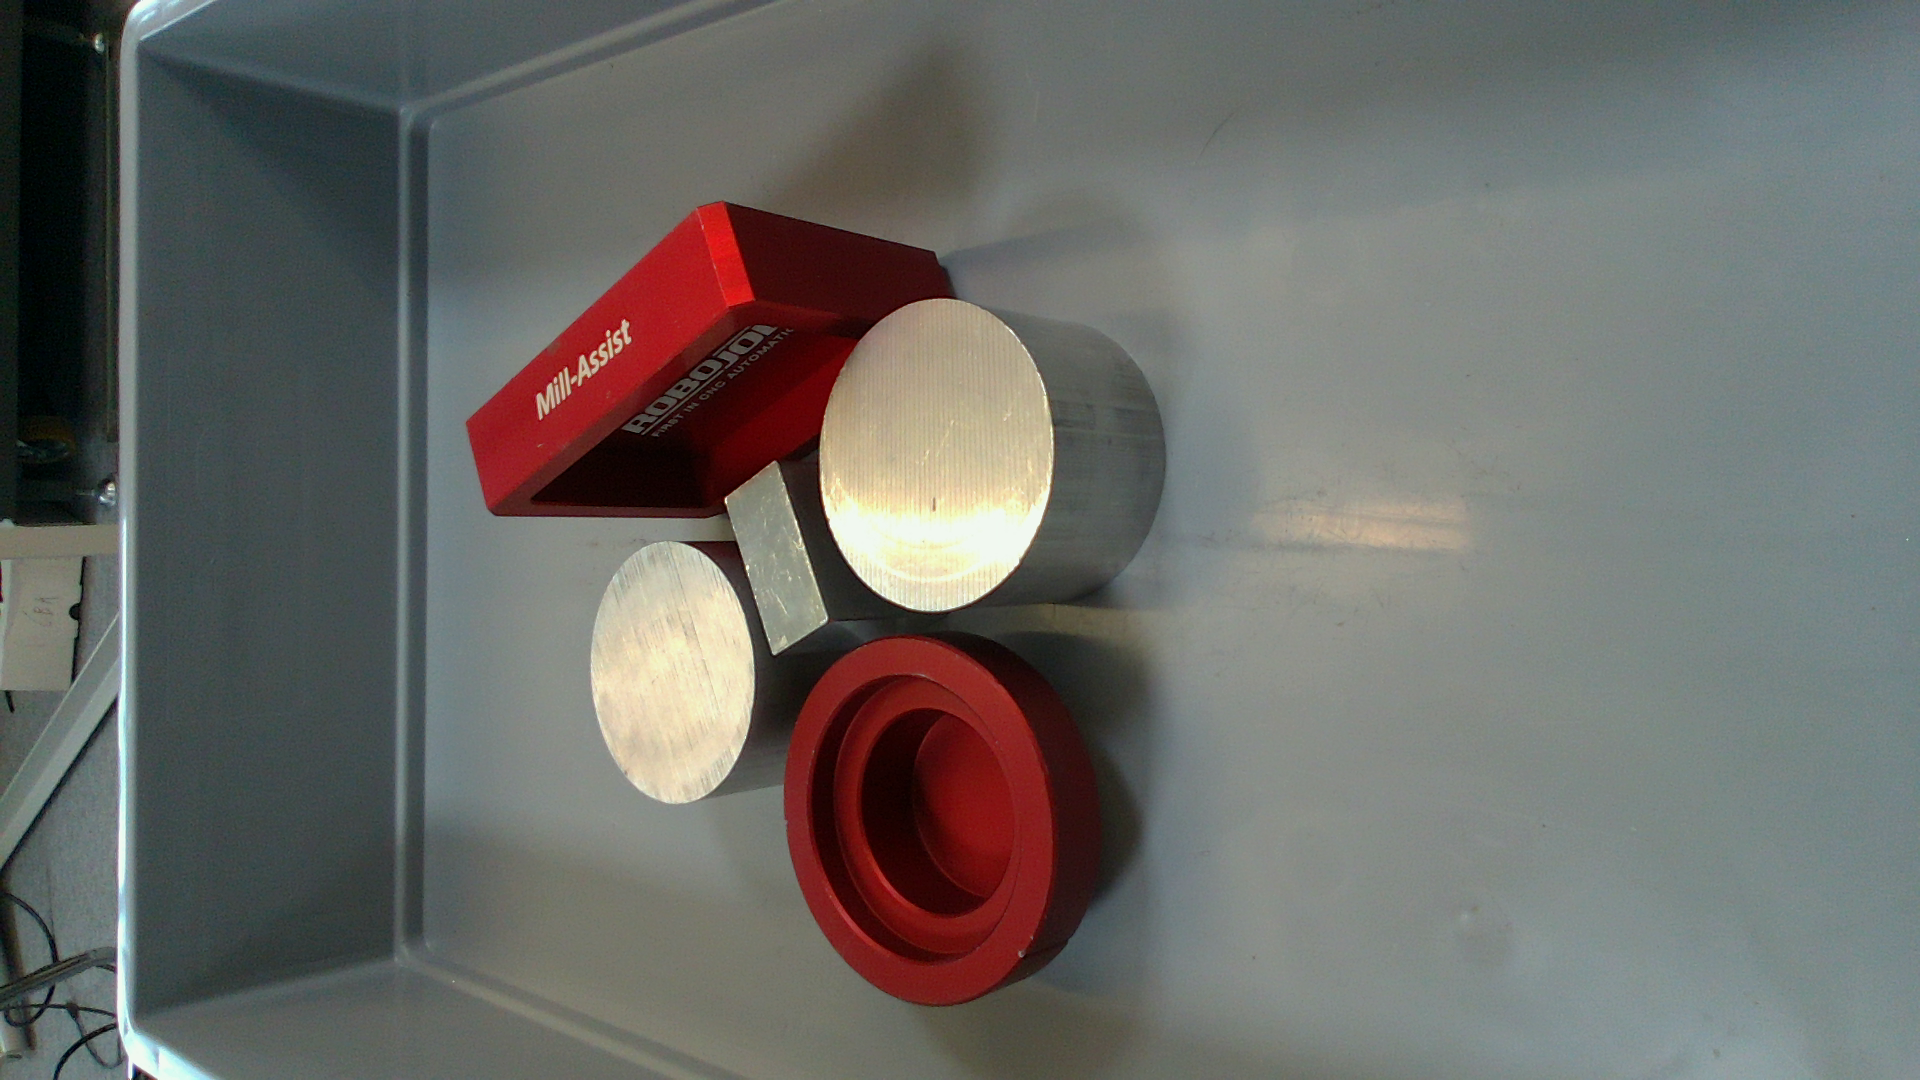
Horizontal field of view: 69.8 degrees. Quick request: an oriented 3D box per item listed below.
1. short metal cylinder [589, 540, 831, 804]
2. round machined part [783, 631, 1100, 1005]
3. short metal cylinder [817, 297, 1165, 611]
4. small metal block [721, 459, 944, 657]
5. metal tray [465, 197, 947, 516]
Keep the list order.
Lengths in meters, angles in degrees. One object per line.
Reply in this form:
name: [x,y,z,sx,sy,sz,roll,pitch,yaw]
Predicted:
short metal cylinder: [-0.073,0.040,0.438,0.080,0.050,0.080,0,90,40]
round machined part: [-0.001,0.074,0.383,0.098,0.042,0.098,0,90,40]
short metal cylinder: [0.008,-0.022,0.370,0.080,0.050,0.080,0,90,40]
small metal block: [-0.037,0.005,0.407,0.025,0.050,0.050,-32,70,36]
metal tray: [-0.075,-0.048,0.413,0.130,0.090,0.030,-30,71,37]
